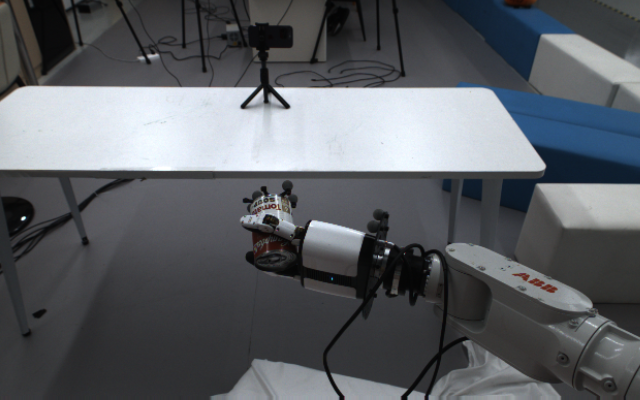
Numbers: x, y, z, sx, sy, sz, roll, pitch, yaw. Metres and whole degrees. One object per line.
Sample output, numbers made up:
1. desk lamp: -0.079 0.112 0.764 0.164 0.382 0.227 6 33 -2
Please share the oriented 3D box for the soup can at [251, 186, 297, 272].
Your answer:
1. soup can: -0.070 0.052 0.745 0.067 0.067 0.101 -5 57 -10
